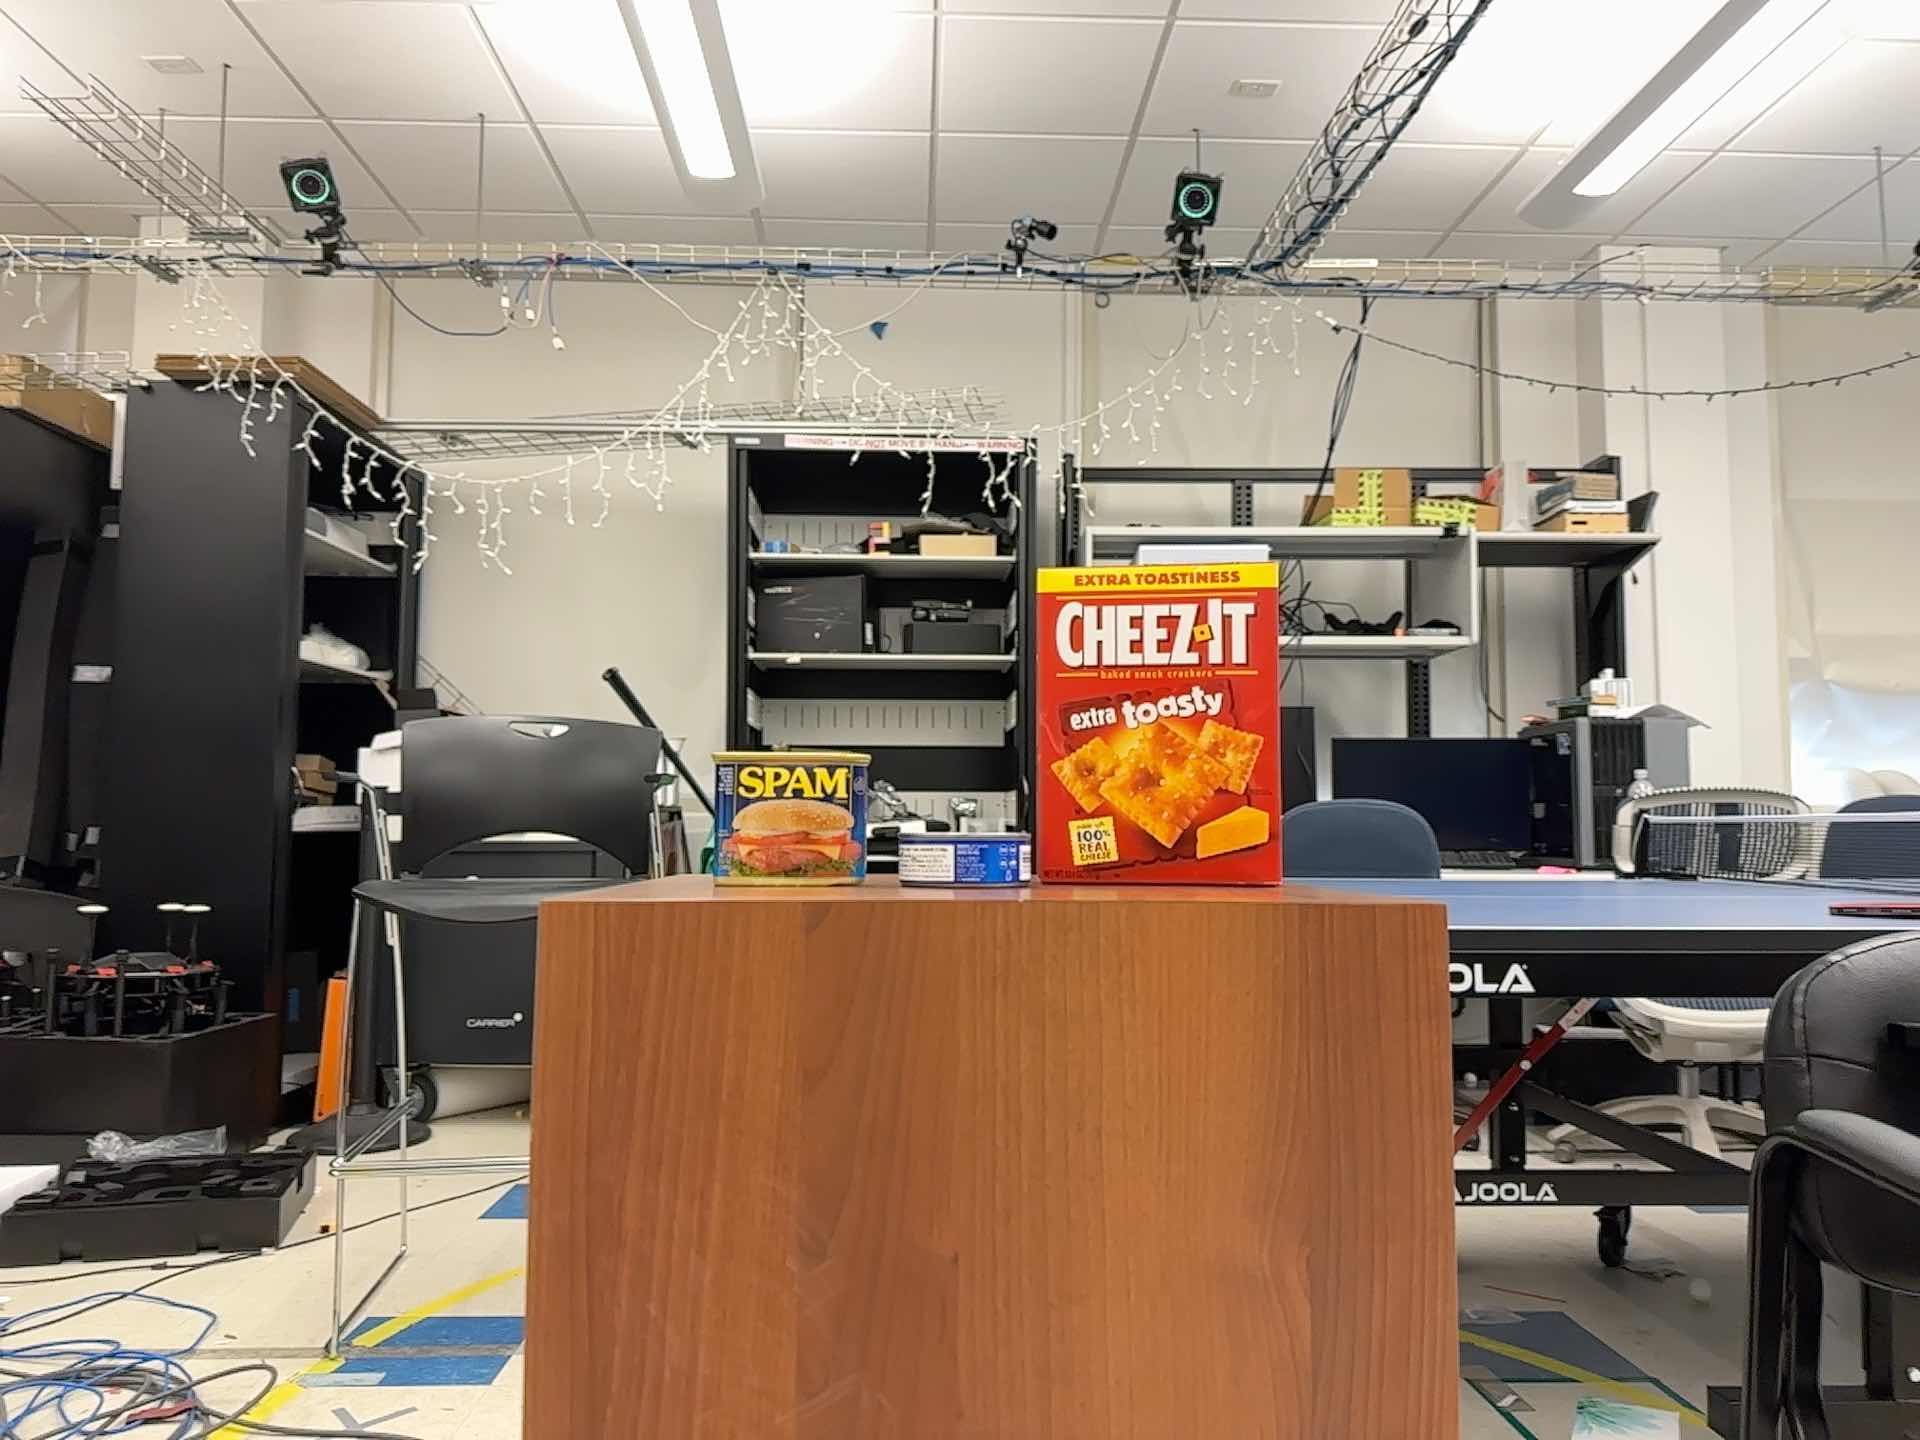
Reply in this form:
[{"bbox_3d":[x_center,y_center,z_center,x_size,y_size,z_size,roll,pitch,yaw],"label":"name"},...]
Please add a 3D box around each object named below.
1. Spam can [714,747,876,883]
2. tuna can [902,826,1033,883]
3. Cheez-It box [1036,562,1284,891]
[{"bbox_3d":[-0.107,0.061,0.871,0.100,0.083,0.056,0,-6,7],"label":"Spam can"},{"bbox_3d":[0.005,0.087,0.866,0.083,0.034,0.083,-1,-7,0],"label":"tuna can"},{"bbox_3d":[0.137,0.006,0.938,0.159,0.214,0.062,0,-5,4],"label":"Cheez-It box"}]
